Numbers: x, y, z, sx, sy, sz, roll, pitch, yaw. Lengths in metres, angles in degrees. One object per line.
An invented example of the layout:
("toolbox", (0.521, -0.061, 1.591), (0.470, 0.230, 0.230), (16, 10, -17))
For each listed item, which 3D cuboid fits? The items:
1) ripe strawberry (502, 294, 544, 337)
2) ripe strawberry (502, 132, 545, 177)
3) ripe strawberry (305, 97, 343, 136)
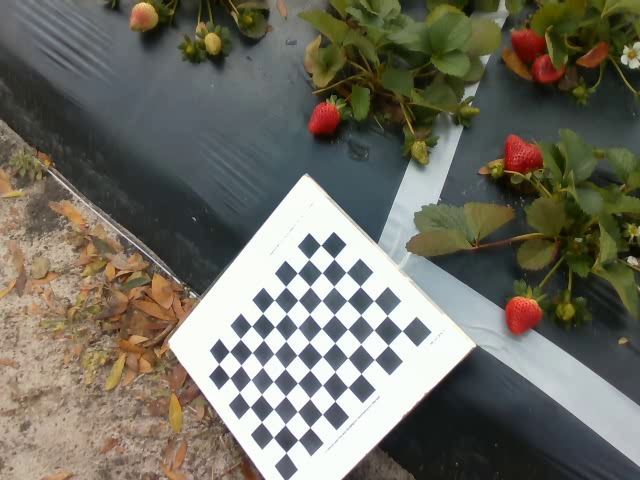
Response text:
("ripe strawberry", (0.205, 0.076, 0.696), (0.039, 0.047, 0.041), (5, -11, 37))
("ripe strawberry", (0.226, -0.097, 0.769), (0.043, 0.062, 0.042), (-34, -28, 25))
("ripe strawberry", (0.004, -0.138, 0.789), (0.046, 0.040, 0.036), (-34, 47, -29))
